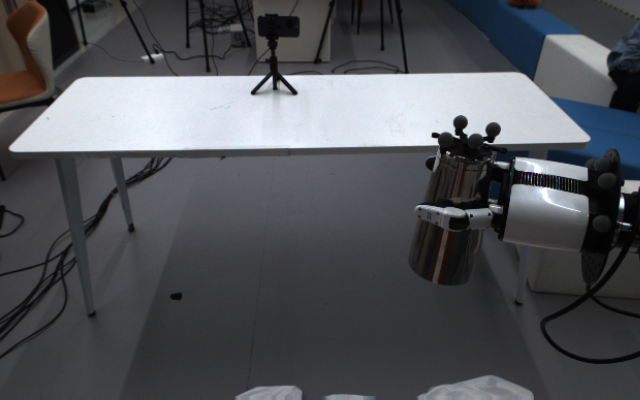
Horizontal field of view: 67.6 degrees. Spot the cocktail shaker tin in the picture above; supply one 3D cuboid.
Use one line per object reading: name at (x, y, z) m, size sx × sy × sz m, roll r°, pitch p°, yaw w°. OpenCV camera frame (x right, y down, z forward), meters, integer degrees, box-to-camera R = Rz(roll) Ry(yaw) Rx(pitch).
cocktail shaker tin at (0.173, 0.012, 0.619) m, size 0.093 × 0.170 × 0.093 m, roll 3°, pitch 30°, yaw -2°
